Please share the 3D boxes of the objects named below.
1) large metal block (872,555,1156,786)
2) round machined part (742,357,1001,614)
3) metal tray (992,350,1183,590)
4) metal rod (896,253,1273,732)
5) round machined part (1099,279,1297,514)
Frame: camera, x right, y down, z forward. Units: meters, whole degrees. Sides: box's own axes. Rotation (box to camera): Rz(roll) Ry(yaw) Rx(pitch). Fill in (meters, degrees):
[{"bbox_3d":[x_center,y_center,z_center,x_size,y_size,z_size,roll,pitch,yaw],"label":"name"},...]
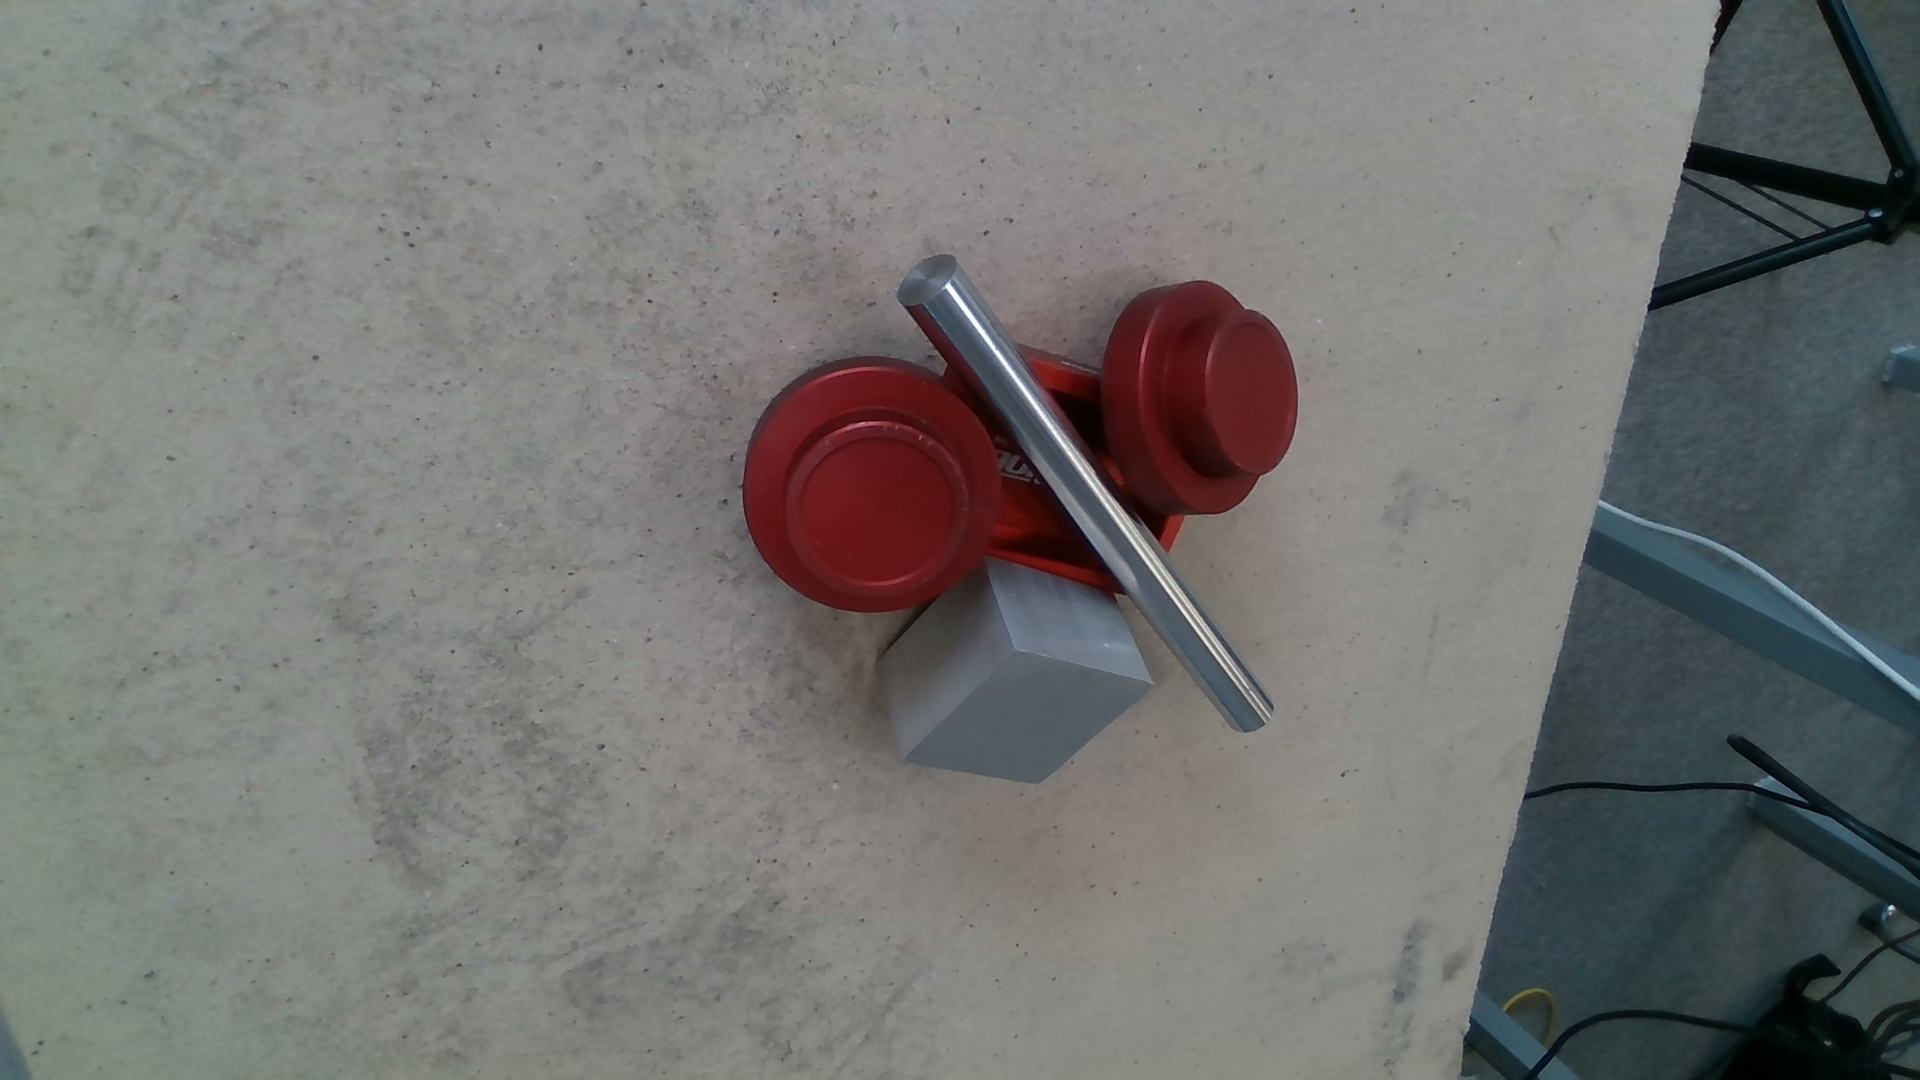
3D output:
[{"bbox_3d":[0.022,0.058,0.592,0.080,0.050,0.080,17,130,-37],"label":"large metal block"},{"bbox_3d":[-0.033,-0.016,0.519,0.098,0.042,0.098,-3,111,-7],"label":"round machined part"},{"bbox_3d":[0.043,-0.029,0.589,0.130,0.030,0.090,11,109,-35],"label":"metal tray"},{"bbox_3d":[0.065,-0.004,0.581,0.025,0.025,0.301,-44,129,-4],"label":"metal rod"},{"bbox_3d":[0.105,-0.060,0.576,0.098,0.042,0.098,2,88,-45],"label":"round machined part"}]
